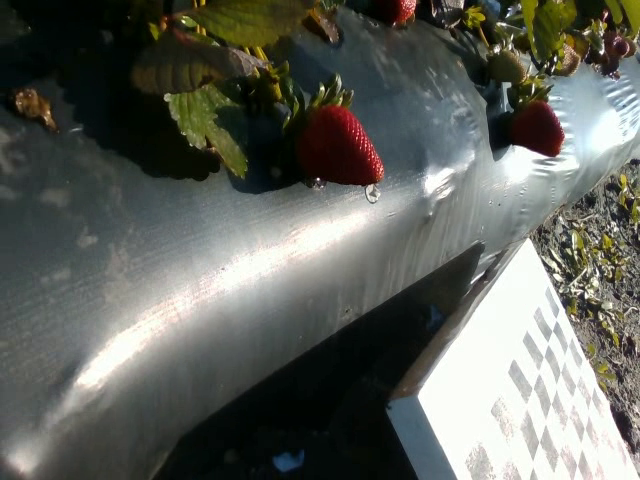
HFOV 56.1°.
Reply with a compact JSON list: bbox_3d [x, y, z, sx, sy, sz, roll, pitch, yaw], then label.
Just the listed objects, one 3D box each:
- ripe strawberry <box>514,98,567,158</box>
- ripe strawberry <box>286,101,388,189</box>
[{"bbox_3d":[0.178,-0.087,0.493,0.042,0.059,0.042,-34,-24,25],"label":"ripe strawberry"},{"bbox_3d":[0.012,-0.043,0.290,0.055,0.042,0.045,40,23,19],"label":"ripe strawberry"}]
